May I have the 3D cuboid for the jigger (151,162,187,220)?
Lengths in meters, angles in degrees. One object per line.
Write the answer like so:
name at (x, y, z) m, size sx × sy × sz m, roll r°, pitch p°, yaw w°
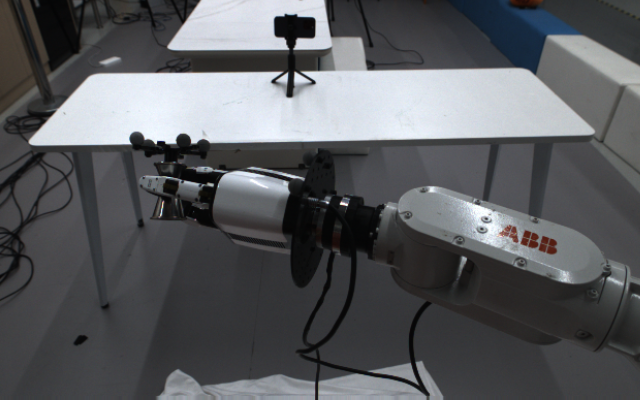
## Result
jigger at (-0.184, -0.009, 0.591) m, size 0.043 × 0.071 × 0.043 m, roll 0°, pitch -5°, yaw 0°
